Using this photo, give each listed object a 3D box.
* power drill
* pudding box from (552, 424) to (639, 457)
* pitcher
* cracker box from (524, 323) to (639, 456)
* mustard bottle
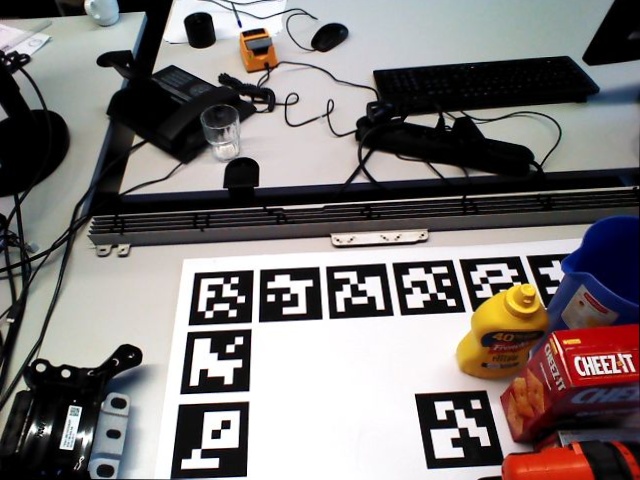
[{"bbox_3d":[0.278,0.258,0.514,0.185,0.187,0.057,-4,49,0],"label":"power drill"},{"bbox_3d":[0.341,0.247,0.604,0.114,0.090,0.038,-4,51,4],"label":"pudding box"},{"bbox_3d":[0.387,0.089,0.646,0.189,0.243,0.132,0,53,7],"label":"pitcher"},{"bbox_3d":[0.344,0.176,0.590,0.164,0.214,0.071,-6,51,2],"label":"cracker box"},{"bbox_3d":[0.255,0.104,0.659,0.096,0.192,0.058,7,55,10],"label":"mustard bottle"}]
